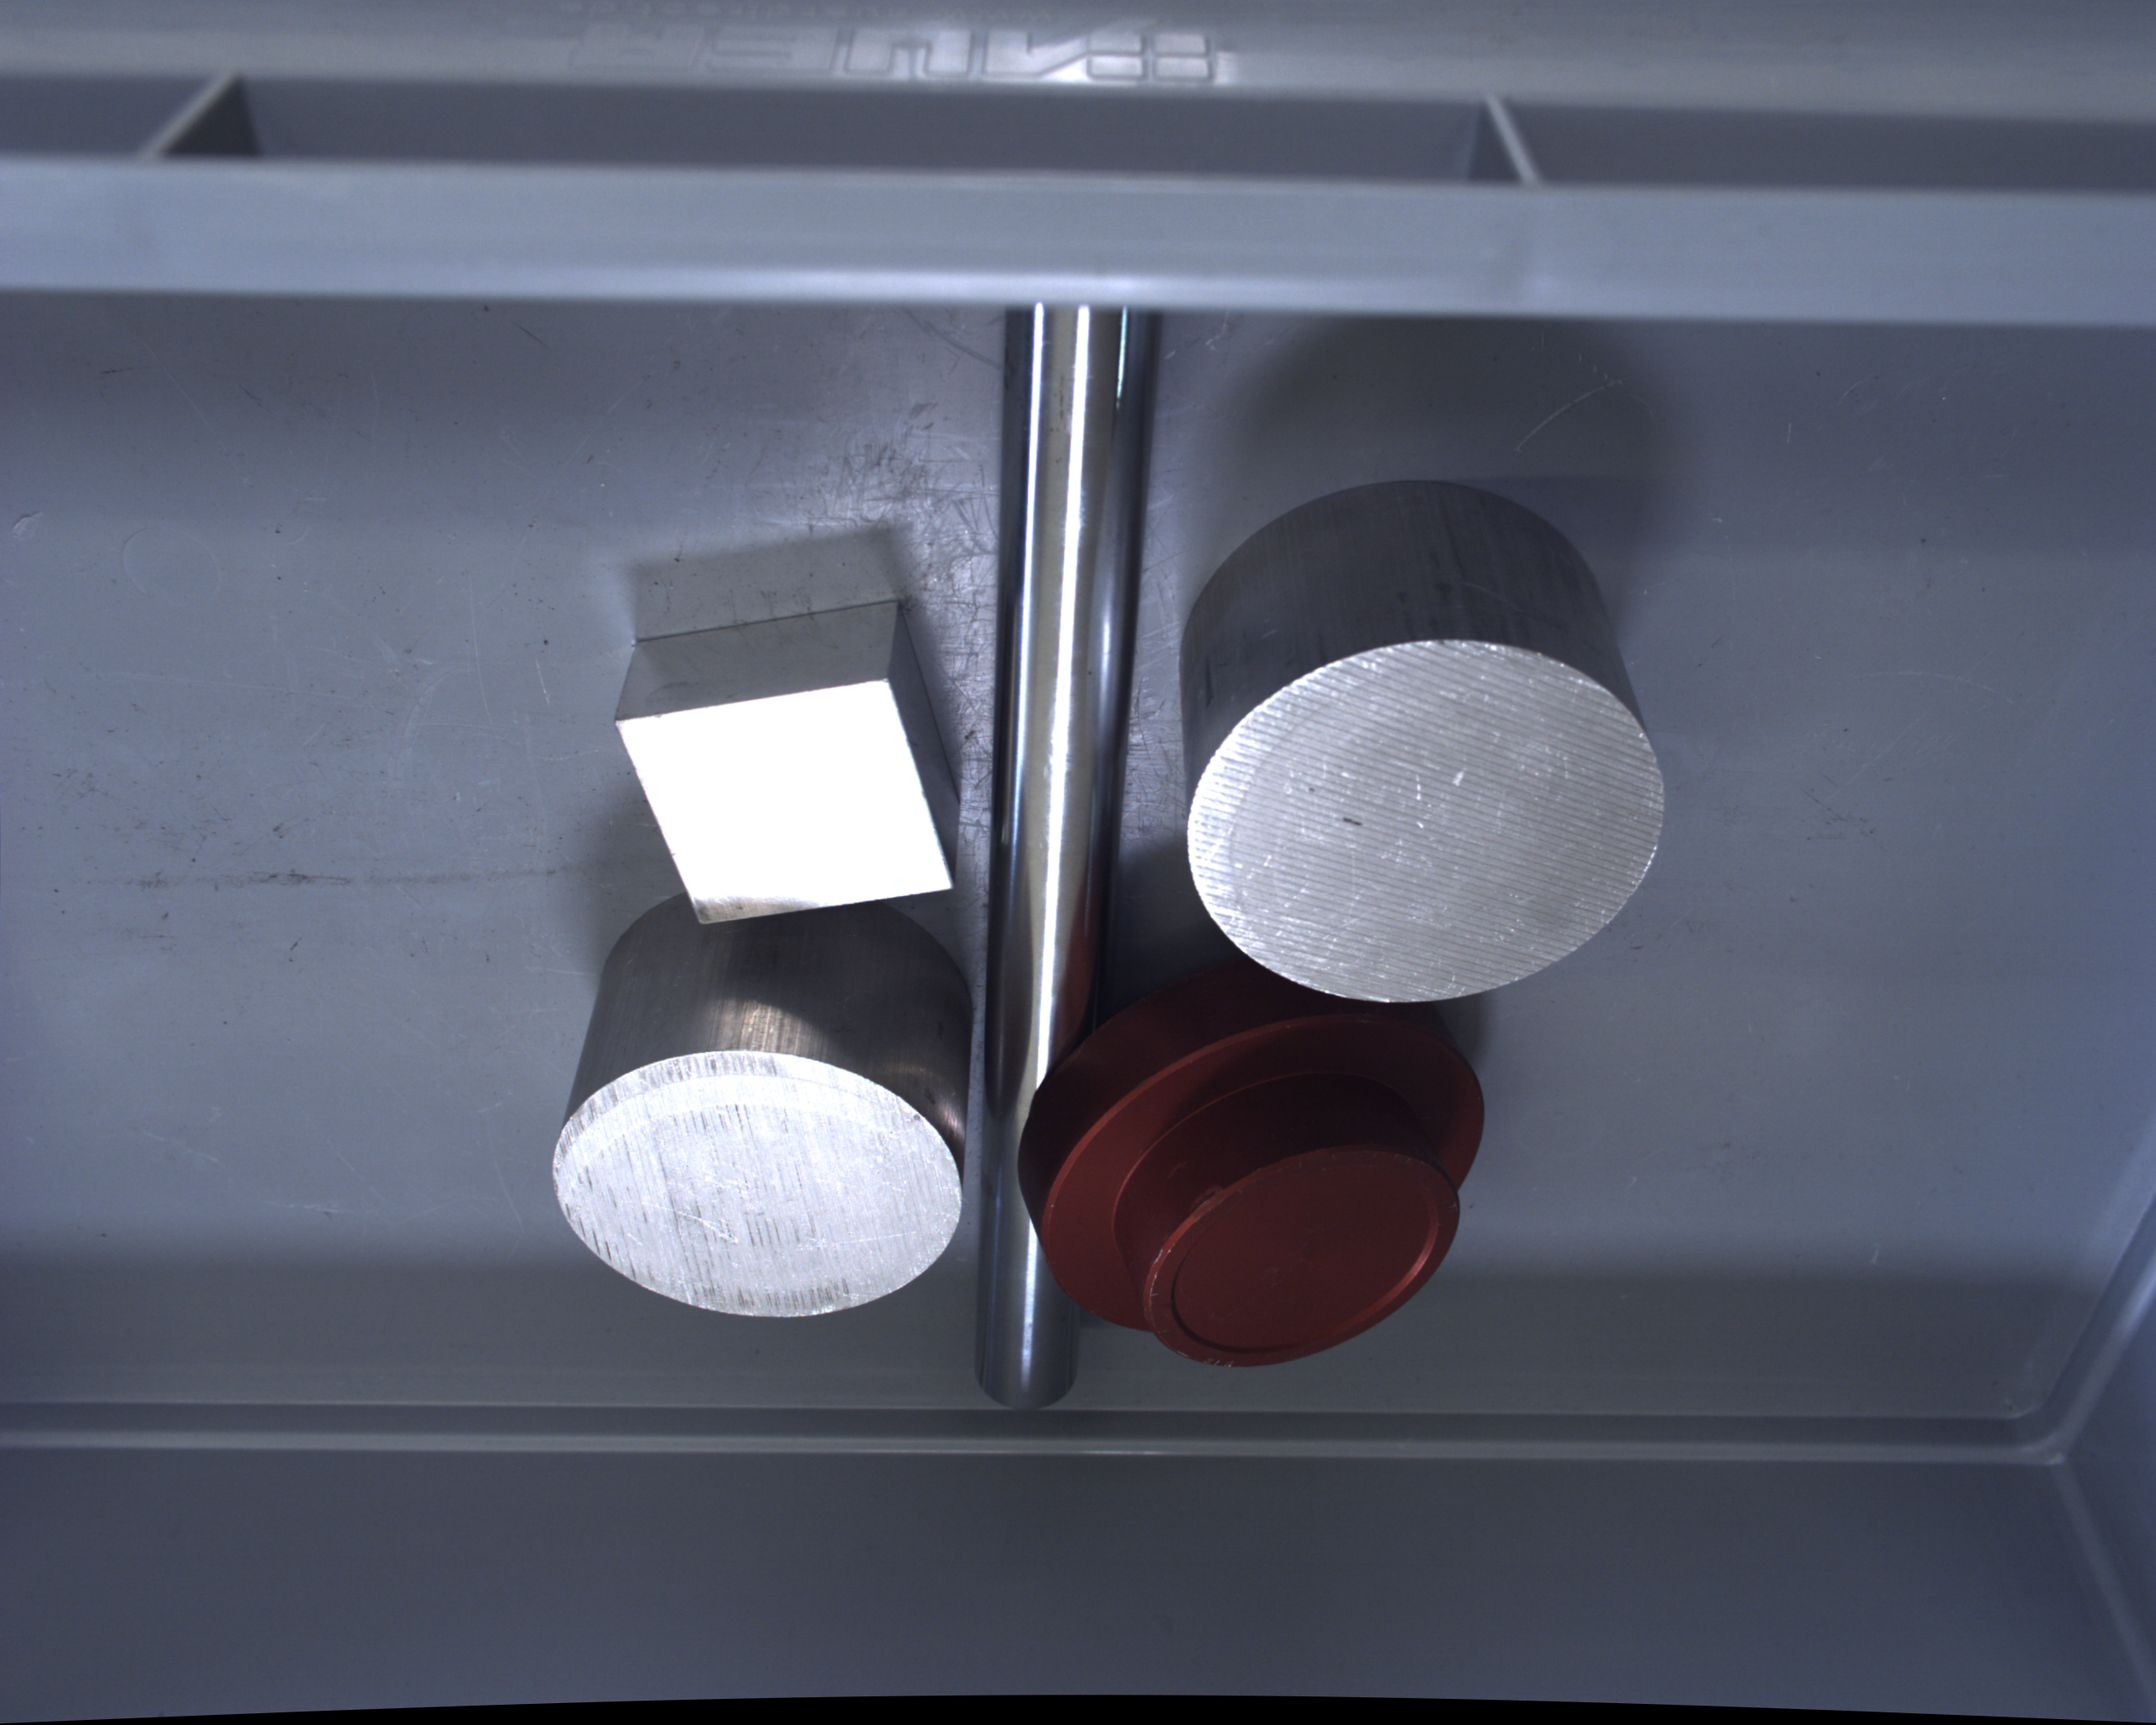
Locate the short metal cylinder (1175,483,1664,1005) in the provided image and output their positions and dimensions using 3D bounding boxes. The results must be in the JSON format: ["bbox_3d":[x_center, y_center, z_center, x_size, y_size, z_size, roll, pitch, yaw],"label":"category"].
[{"bbox_3d":[0.059,-0.020,0.373,0.081,0.050,0.079,0,130,0],"label":"short metal cylinder"}]

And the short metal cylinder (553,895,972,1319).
[{"bbox_3d":[-0.063,0.049,0.431,0.081,0.050,0.079,0,130,0],"label":"short metal cylinder"}]

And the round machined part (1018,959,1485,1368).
[{"bbox_3d":[0.040,0.068,0.438,0.099,0.042,0.097,-11,131,-12],"label":"round machined part"}]

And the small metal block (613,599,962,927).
[{"bbox_3d":[-0.053,-0.018,0.391,0.050,0.025,0.050,-9,130,7],"label":"small metal block"}]

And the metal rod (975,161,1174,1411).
[{"bbox_3d":[-0.005,0.011,0.415,0.025,0.025,0.298,2,130,-2],"label":"metal rod"}]
